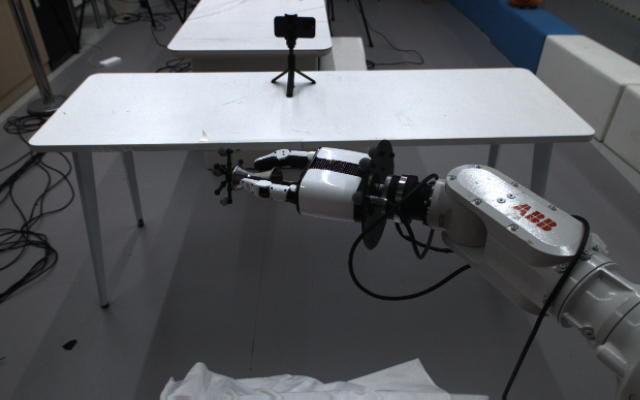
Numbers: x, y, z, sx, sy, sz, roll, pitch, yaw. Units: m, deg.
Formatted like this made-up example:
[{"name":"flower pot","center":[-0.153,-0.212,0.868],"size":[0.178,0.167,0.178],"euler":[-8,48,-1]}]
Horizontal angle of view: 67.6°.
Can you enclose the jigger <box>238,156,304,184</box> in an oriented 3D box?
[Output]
[{"name":"jigger","center":[-0.092,-0.036,0.759],"size":[0.071,0.043,0.043],"euler":[5,34,21]}]
